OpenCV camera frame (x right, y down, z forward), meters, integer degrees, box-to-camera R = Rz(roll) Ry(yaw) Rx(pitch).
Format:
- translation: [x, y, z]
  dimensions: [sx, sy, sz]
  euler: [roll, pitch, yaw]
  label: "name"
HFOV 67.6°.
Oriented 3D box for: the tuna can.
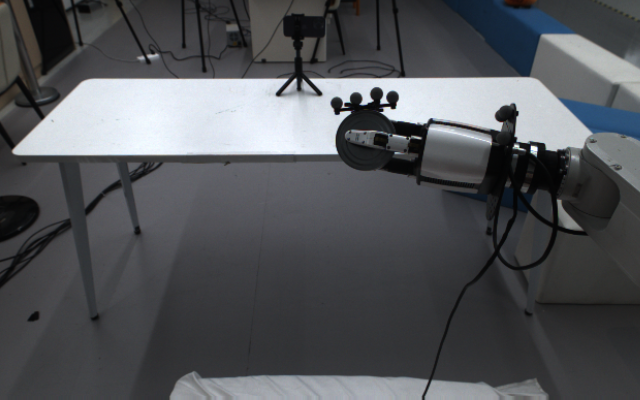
- translation: [0.067, -0.084, 0.689]
  dimensions: [0.085, 0.085, 0.034]
  euler: [10, 1, 12]
  label: "tuna can"
